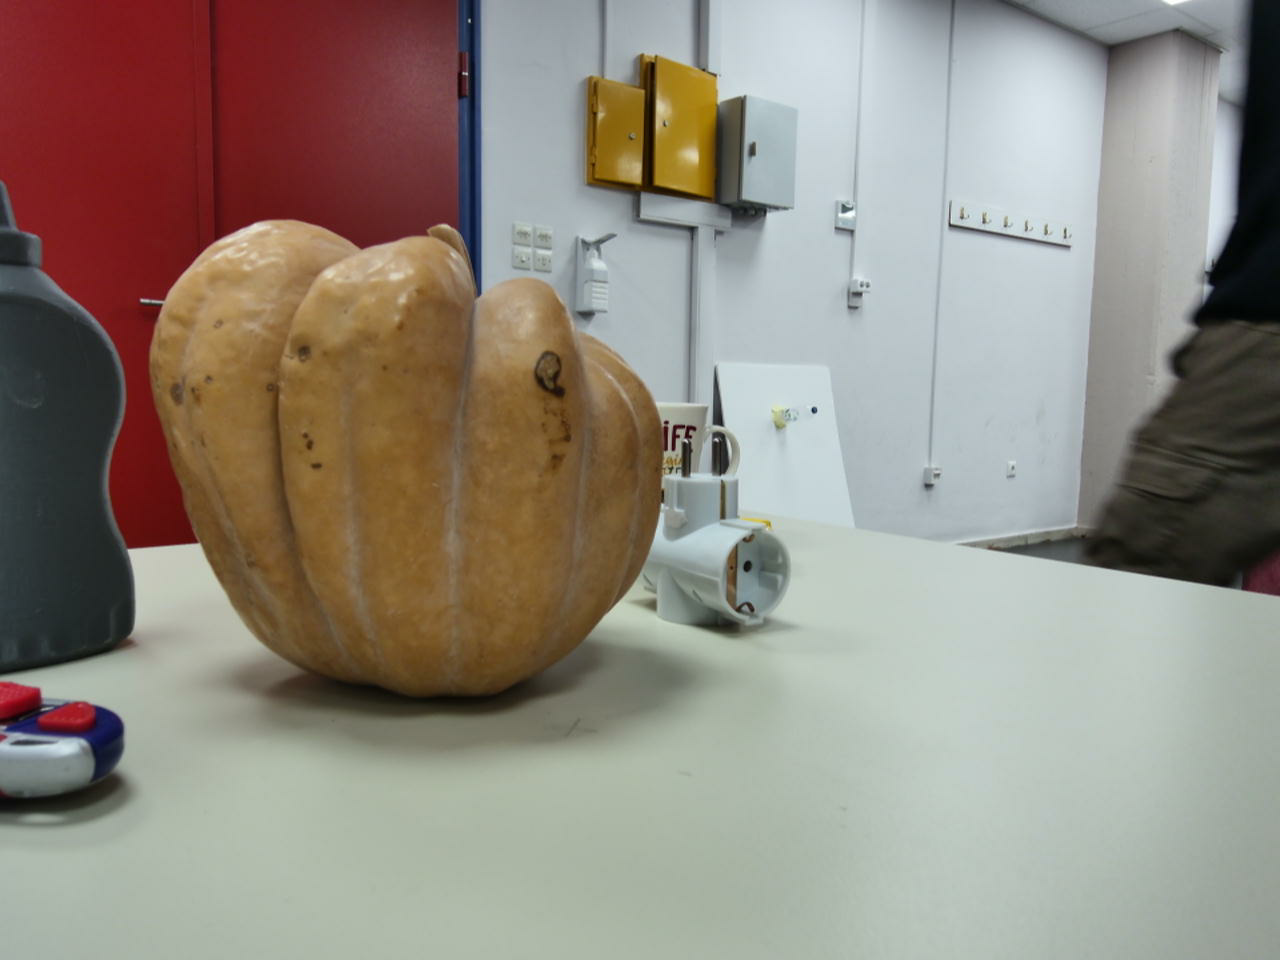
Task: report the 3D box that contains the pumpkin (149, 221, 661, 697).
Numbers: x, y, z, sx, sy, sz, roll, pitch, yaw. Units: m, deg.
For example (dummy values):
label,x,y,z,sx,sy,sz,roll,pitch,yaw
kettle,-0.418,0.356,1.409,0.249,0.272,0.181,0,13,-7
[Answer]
label,x,y,z,sx,sy,sz,roll,pitch,yaw
pumpkin,-0.088,-0.008,0.391,0.199,0.177,0.198,0,4,0
